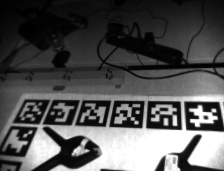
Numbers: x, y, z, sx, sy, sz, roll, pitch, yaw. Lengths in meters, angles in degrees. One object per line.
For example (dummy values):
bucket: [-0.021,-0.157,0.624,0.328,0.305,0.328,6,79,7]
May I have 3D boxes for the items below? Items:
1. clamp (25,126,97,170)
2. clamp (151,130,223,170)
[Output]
clamp: [-0.144,0.185,0.615,0.202,0.037,0.165,-3,47,10]
clamp: [0.171,0.192,0.541,0.165,0.037,0.120,-22,56,-5]
